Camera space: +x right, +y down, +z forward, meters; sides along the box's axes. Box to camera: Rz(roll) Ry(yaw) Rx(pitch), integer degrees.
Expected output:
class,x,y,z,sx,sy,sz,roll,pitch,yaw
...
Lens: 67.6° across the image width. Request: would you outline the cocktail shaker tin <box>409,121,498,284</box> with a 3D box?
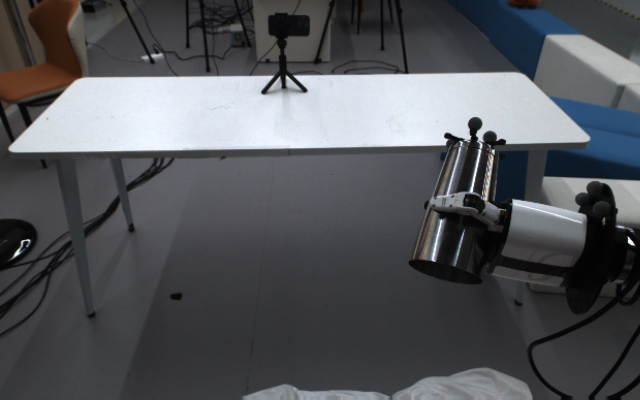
class,x,y,z,sx,sy,sz,roll,pitch,yaw
cocktail shaker tin,0.181,0.013,0.622,0.093,0.093,0.170,14,73,16
